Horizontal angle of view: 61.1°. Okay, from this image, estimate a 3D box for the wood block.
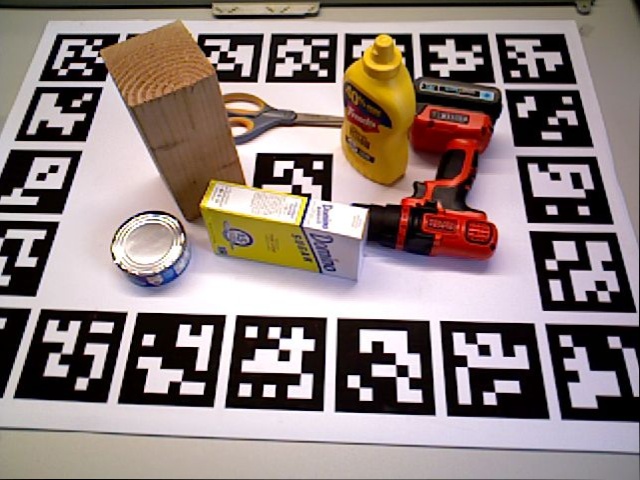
[{"bbox_3d":[-0.152,-0.120,0.600,0.090,0.209,0.089,-25,64,-12],"label":"wood block"}]

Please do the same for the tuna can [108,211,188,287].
[{"bbox_3d":[-0.195,0.010,0.617,0.085,0.034,0.085,-1,63,1],"label":"tuna can"}]

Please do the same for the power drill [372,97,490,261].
[{"bbox_3d":[0.114,-0.074,0.637,0.184,0.058,0.185,12,71,9],"label":"power drill"}]

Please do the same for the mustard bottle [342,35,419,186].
[{"bbox_3d":[0.067,-0.148,0.611,0.057,0.194,0.096,-36,67,-16],"label":"mustard bottle"}]

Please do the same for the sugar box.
[{"bbox_3d":[-0.030,-0.008,0.591,0.176,0.094,0.044,12,59,7],"label":"sugar box"}]

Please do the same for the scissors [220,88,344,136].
[{"bbox_3d":[-0.069,-0.165,0.716,0.202,0.016,0.086,2,59,4],"label":"scissors"}]
